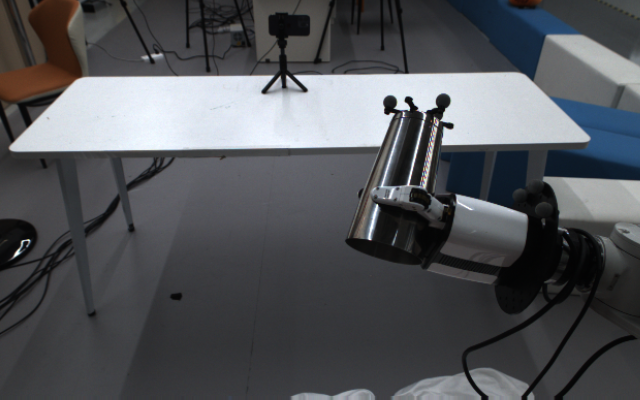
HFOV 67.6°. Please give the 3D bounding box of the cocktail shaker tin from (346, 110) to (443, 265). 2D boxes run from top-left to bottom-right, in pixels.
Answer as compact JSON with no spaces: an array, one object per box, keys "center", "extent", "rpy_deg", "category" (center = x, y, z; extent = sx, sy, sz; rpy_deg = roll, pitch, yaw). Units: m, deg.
[{"center":[0.098,-0.017,0.582],"extent":[0.093,0.093,0.170],"rpy_deg":[13,74,15],"category":"cocktail shaker tin"}]
